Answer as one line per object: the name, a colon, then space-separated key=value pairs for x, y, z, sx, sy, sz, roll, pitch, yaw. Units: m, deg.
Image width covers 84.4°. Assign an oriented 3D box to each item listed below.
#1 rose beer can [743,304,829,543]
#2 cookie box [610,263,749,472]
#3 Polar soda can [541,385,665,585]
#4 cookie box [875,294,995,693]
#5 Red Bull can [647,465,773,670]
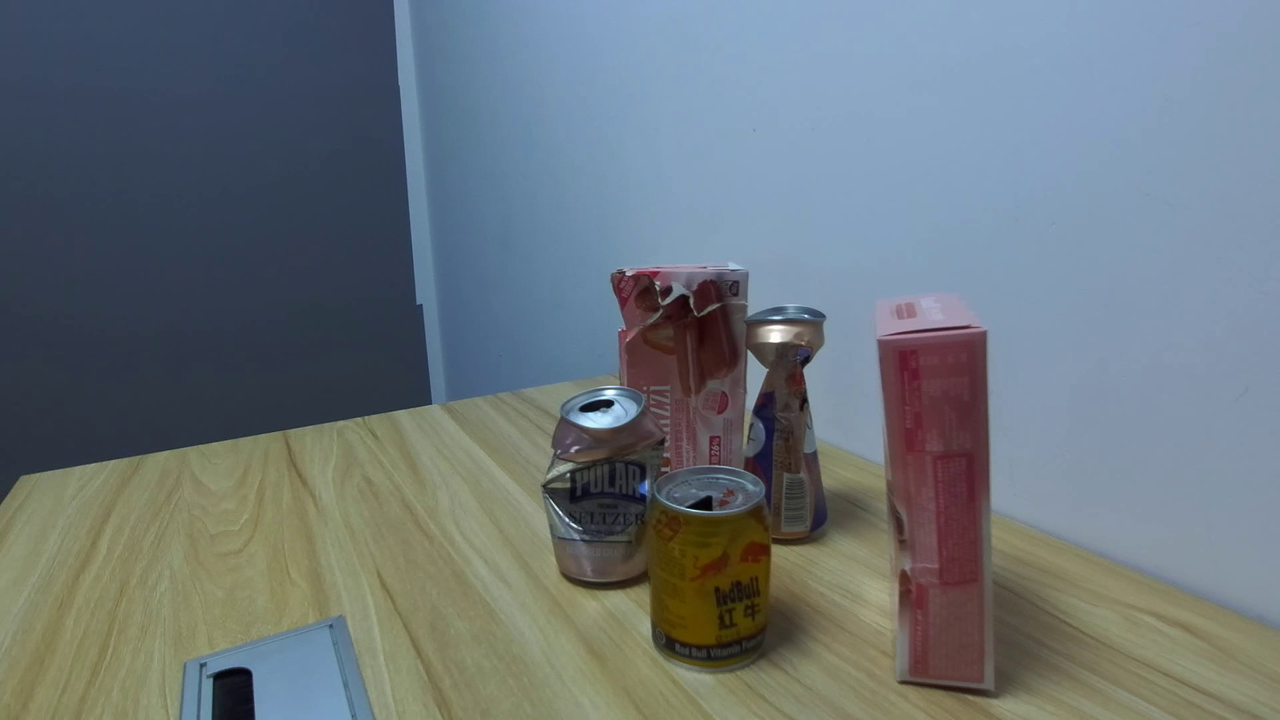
rose beer can: x=0.104 y=0.045 z=0.503 sx=0.068 sy=0.162 sz=0.073 roll=-7 pitch=14 yaw=-20
cookie box: x=0.034 y=0.016 z=0.574 sx=0.105 sy=0.186 sz=0.059 roll=-3 pitch=13 yaw=-1
Polar soda can: x=-0.024 y=0.084 z=0.458 sx=0.071 sy=0.122 sz=0.066 roll=-15 pitch=24 yaw=-36
cookie box: x=0.153 y=0.067 z=0.368 sx=0.048 sy=0.187 sz=0.105 roll=-3 pitch=13 yaw=20
Red Bull can: x=0.037 y=0.112 z=0.387 sx=0.069 sy=0.092 sz=0.069 roll=-1 pitch=14 yaw=1
